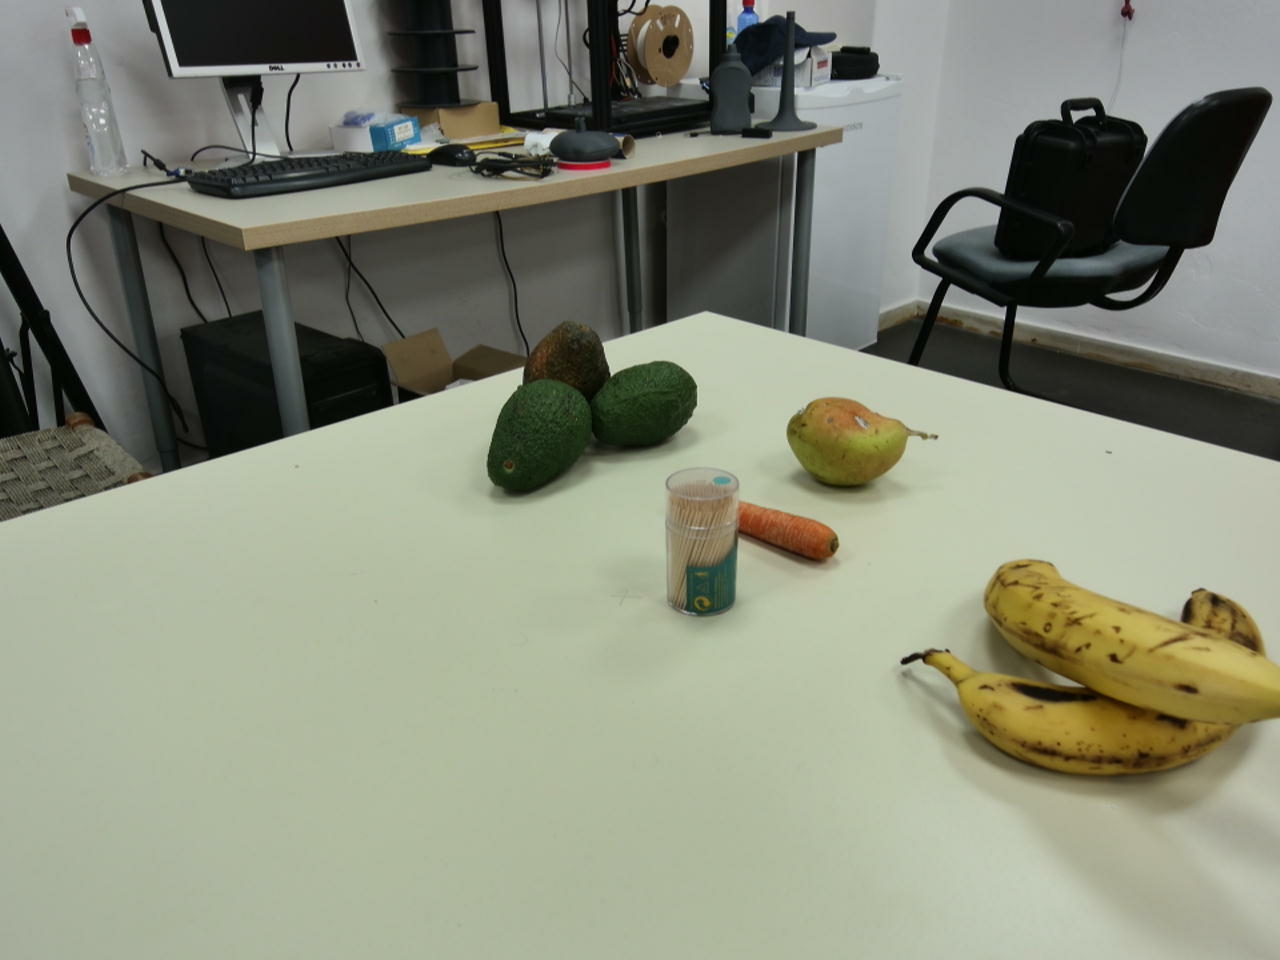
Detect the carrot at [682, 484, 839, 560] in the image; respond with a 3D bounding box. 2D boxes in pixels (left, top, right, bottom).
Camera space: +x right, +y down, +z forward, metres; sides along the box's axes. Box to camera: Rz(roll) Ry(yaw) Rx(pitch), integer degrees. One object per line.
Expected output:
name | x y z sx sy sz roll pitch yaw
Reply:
carrot | 0.073 0.024 0.638 0.122 0.023 0.024 22 32 40
